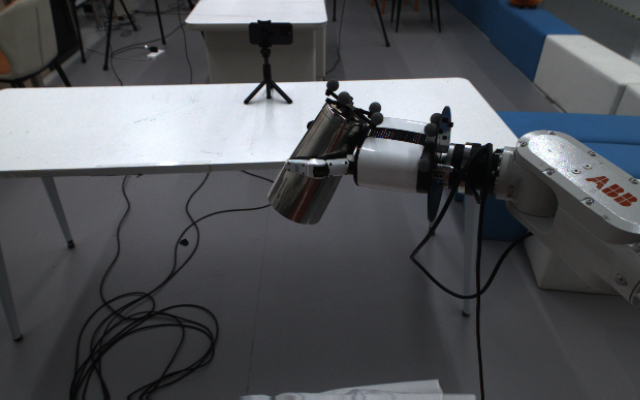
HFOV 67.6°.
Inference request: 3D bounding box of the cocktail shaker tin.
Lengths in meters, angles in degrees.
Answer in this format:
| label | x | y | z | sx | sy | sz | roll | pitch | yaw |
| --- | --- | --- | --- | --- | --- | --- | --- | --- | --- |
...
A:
| label | x | y | z | sx | sy | sz | roll | pitch | yaw |
| --- | --- | --- | --- | --- | --- | --- | --- | --- | --- |
| cocktail shaker tin | 0.000 | -0.061 | 0.716 | 0.093 | 0.170 | 0.093 | 25 | 29 | -15 |
